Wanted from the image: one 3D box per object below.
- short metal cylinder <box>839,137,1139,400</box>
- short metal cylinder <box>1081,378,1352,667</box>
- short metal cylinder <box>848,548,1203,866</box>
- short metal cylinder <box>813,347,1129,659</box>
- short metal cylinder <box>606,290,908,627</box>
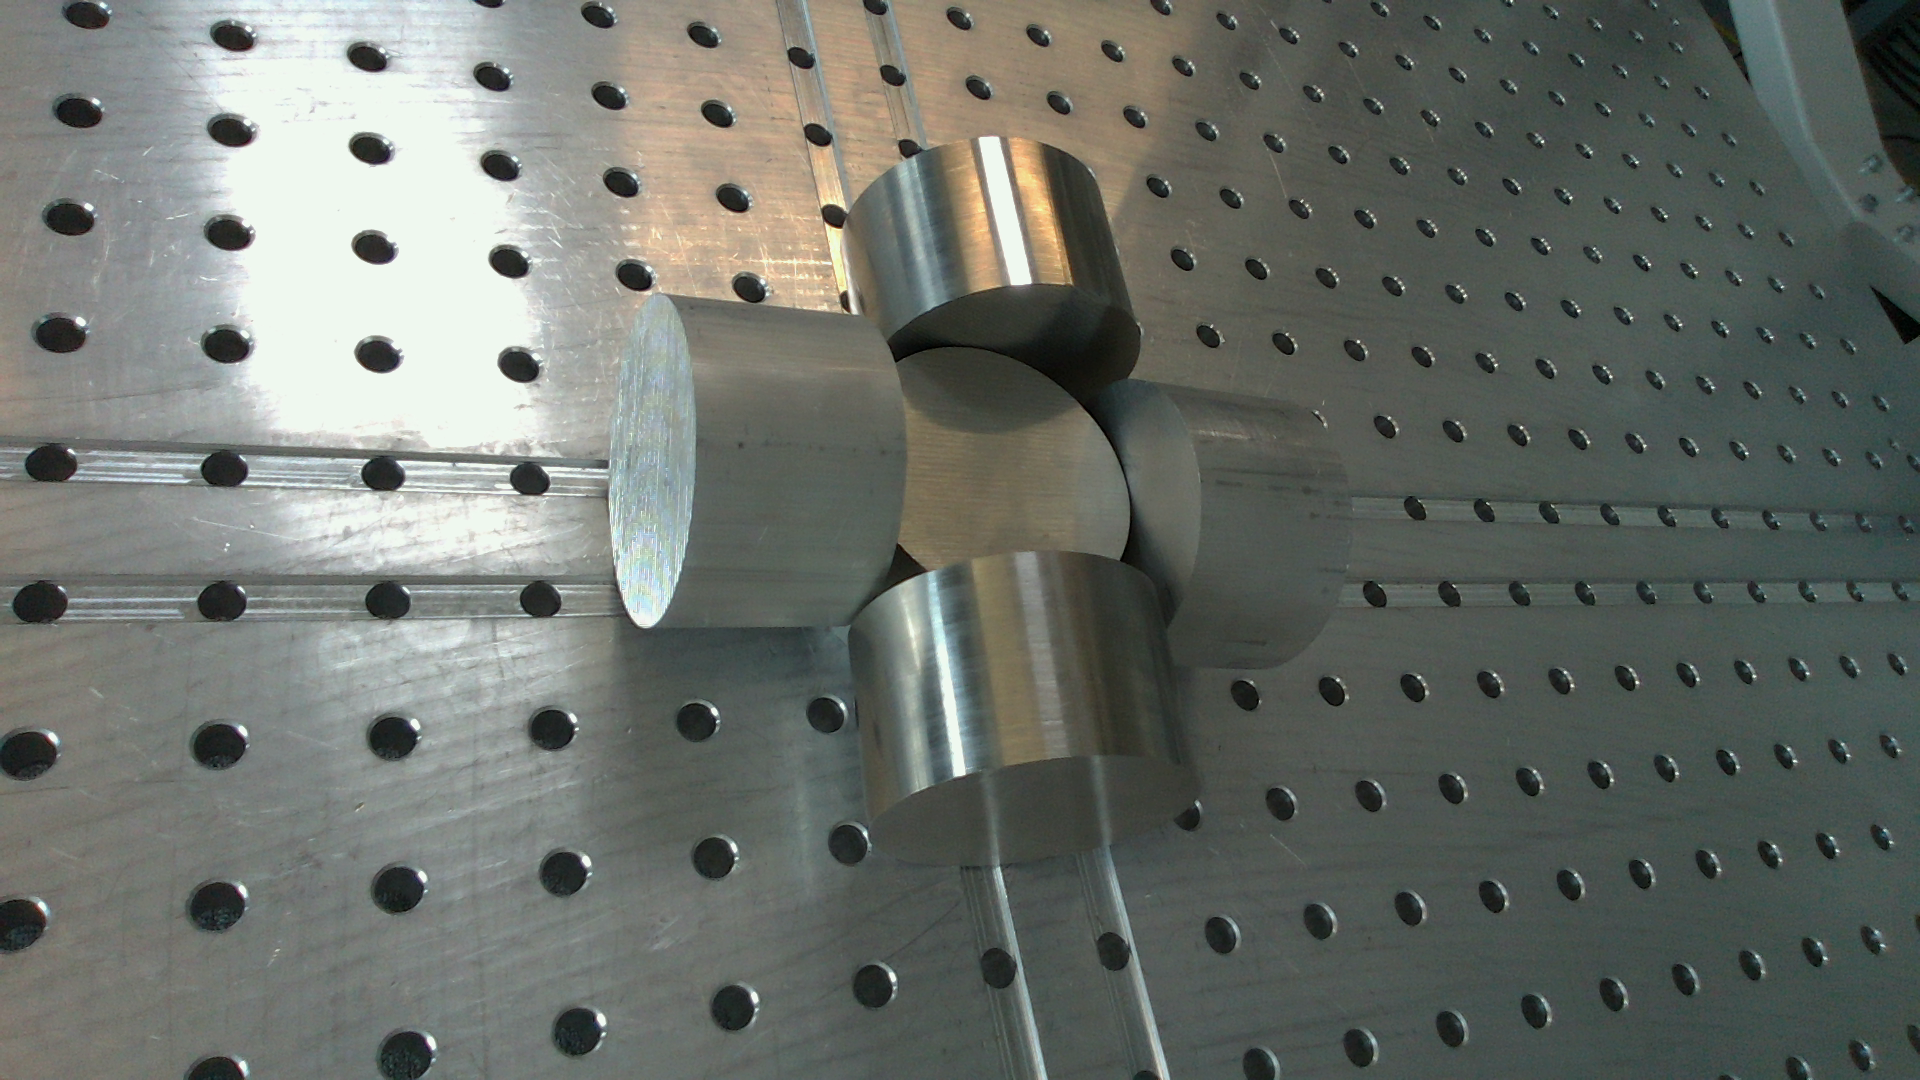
[{"bbox_3d":[0.008,-0.071,0.405,0.080,0.080,0.050,3,60,-27],"label":"short metal cylinder"},{"bbox_3d":[0.066,-0.004,0.395,0.050,0.080,0.080,4,60,-27],"label":"short metal cylinder"},{"bbox_3d":[0.015,0.043,0.337,0.080,0.080,0.050,6,58,-25],"label":"short metal cylinder"},{"bbox_3d":[-0.001,-0.006,0.381,0.080,0.050,0.080,15,55,-21],"label":"short metal cylinder"},{"bbox_3d":[-0.053,-0.019,0.340,0.050,0.080,0.080,2,61,-28],"label":"short metal cylinder"}]
